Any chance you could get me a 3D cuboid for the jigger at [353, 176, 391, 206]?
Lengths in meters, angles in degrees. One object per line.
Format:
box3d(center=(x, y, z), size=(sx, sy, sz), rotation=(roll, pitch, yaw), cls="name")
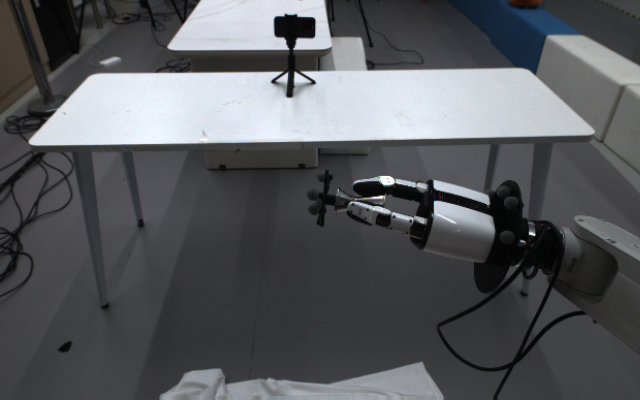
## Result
box3d(center=(0.064, 0.000, 0.684), size=(0.071, 0.043, 0.043), rotation=(7, 35, 8), cls="jigger")
